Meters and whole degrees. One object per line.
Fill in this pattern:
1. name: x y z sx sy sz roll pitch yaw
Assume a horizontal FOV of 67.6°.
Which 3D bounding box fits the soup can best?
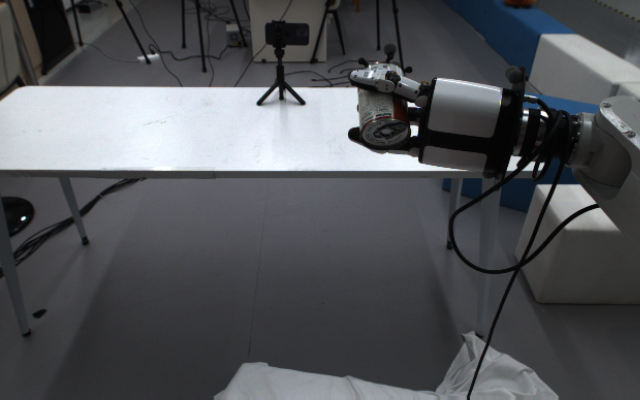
1. soup can: 0.086 -0.128 0.660 0.067 0.067 0.101 1 62 -2
